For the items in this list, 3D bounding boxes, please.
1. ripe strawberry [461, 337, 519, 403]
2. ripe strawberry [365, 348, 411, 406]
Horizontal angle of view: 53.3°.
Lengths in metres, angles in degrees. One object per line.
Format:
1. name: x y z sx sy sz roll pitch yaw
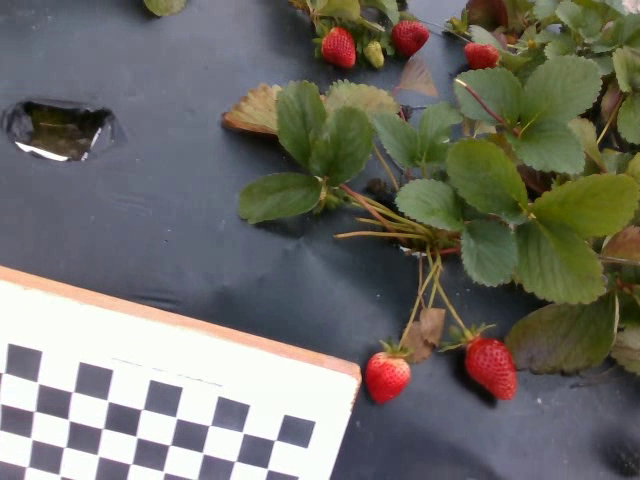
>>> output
1. ripe strawberry: 0.129 0.096 0.466 0.044 0.059 0.042 -27 -9 17
2. ripe strawberry: 0.050 0.102 0.453 0.036 0.040 0.027 18 -4 4
